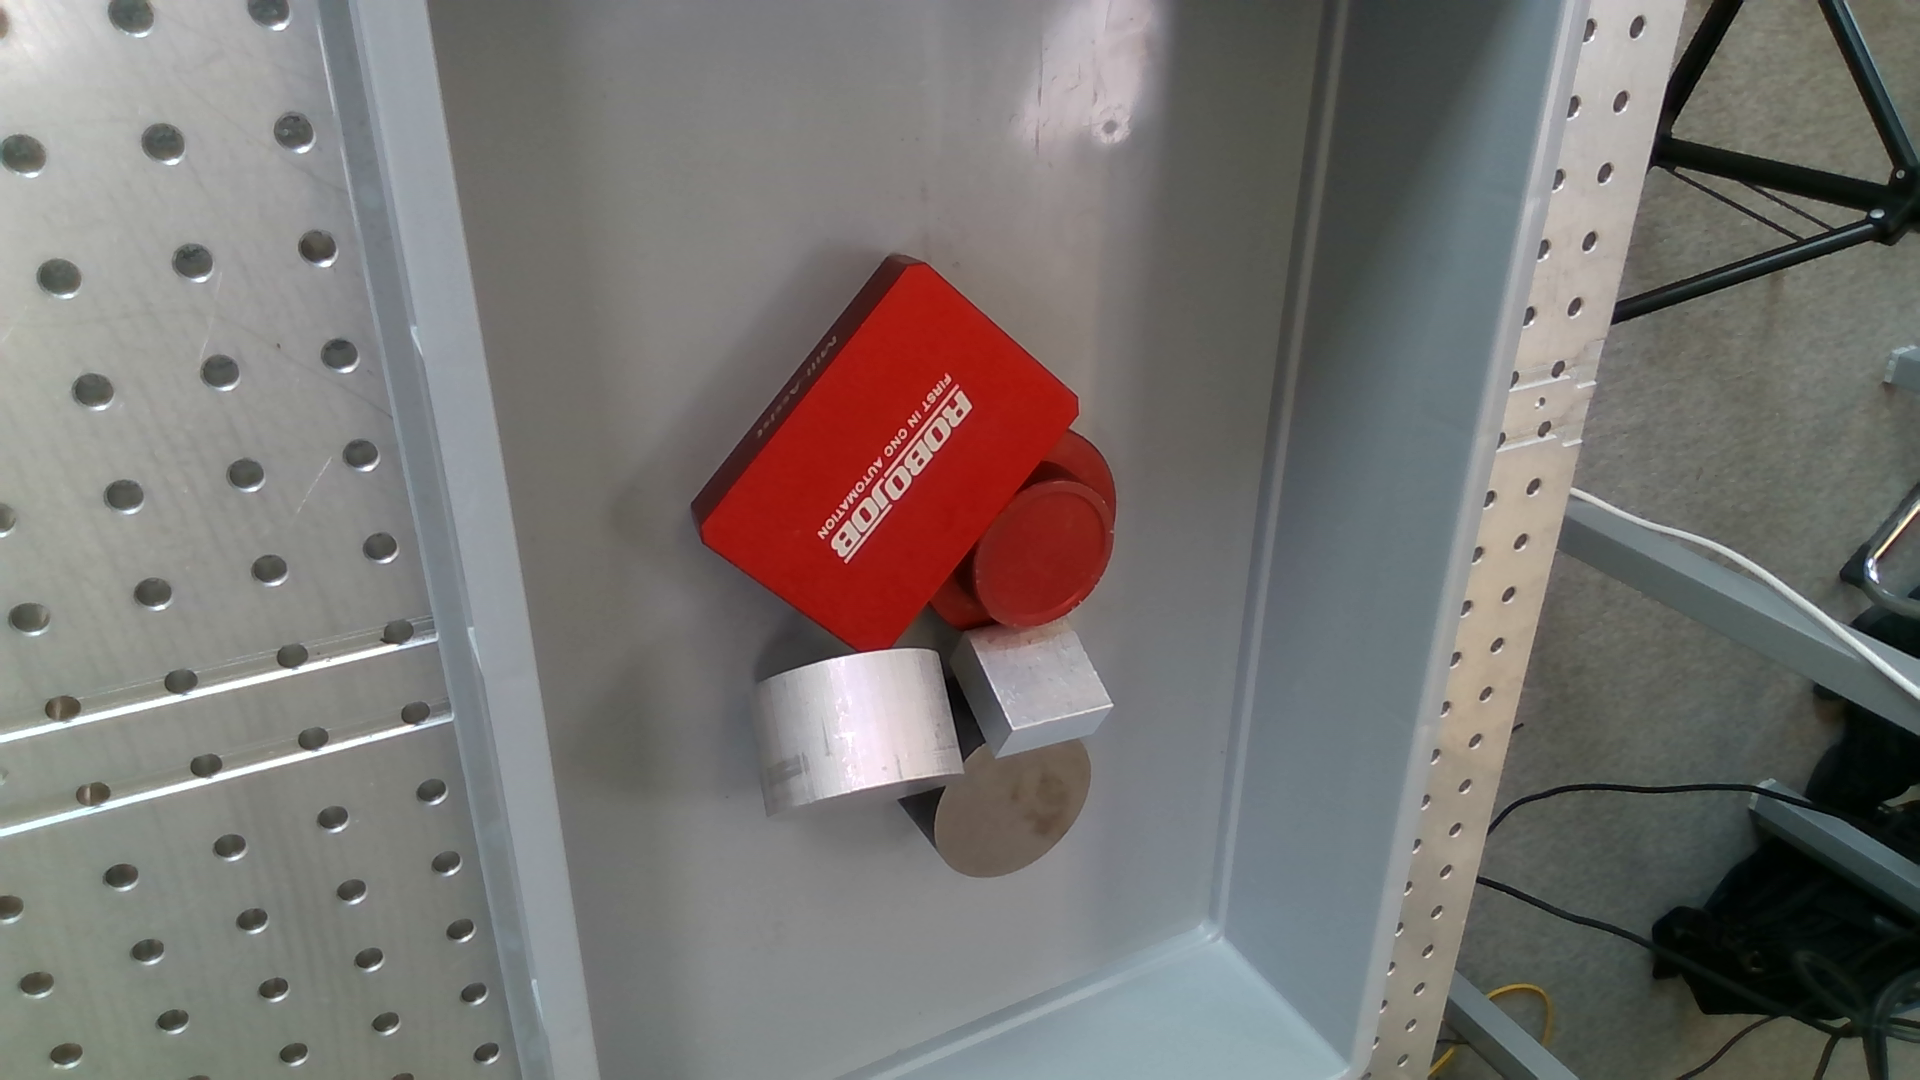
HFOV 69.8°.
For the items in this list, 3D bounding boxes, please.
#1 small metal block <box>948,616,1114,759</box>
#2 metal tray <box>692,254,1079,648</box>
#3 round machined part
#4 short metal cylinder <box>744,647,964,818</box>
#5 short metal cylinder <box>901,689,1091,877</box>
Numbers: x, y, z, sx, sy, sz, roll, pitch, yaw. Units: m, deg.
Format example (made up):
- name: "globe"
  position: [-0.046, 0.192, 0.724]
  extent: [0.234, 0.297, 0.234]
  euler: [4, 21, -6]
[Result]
- name: "small metal block"
  position: [0.030, 0.061, 0.591]
  extent: [0.050, 0.050, 0.025]
  euler: [-10, 147, -28]
- name: "metal tray"
  position: [-0.028, -0.032, 0.527]
  extent: [0.090, 0.030, 0.130]
  euler: [38, 93, -24]
- name: "round machined part"
  position: [0.026, -0.003, 0.583]
  extent: [0.098, 0.042, 0.098]
  euler: [-14, 122, -25]
- name: "short metal cylinder"
  position: [-0.042, 0.078, 0.553]
  extent: [0.080, 0.080, 0.050]
  euler: [-5, 74, -29]
- name: "short metal cylinder"
  position: [0.012, 0.105, 0.629]
  extent: [0.080, 0.050, 0.080]
  euler: [-14, 122, -25]
